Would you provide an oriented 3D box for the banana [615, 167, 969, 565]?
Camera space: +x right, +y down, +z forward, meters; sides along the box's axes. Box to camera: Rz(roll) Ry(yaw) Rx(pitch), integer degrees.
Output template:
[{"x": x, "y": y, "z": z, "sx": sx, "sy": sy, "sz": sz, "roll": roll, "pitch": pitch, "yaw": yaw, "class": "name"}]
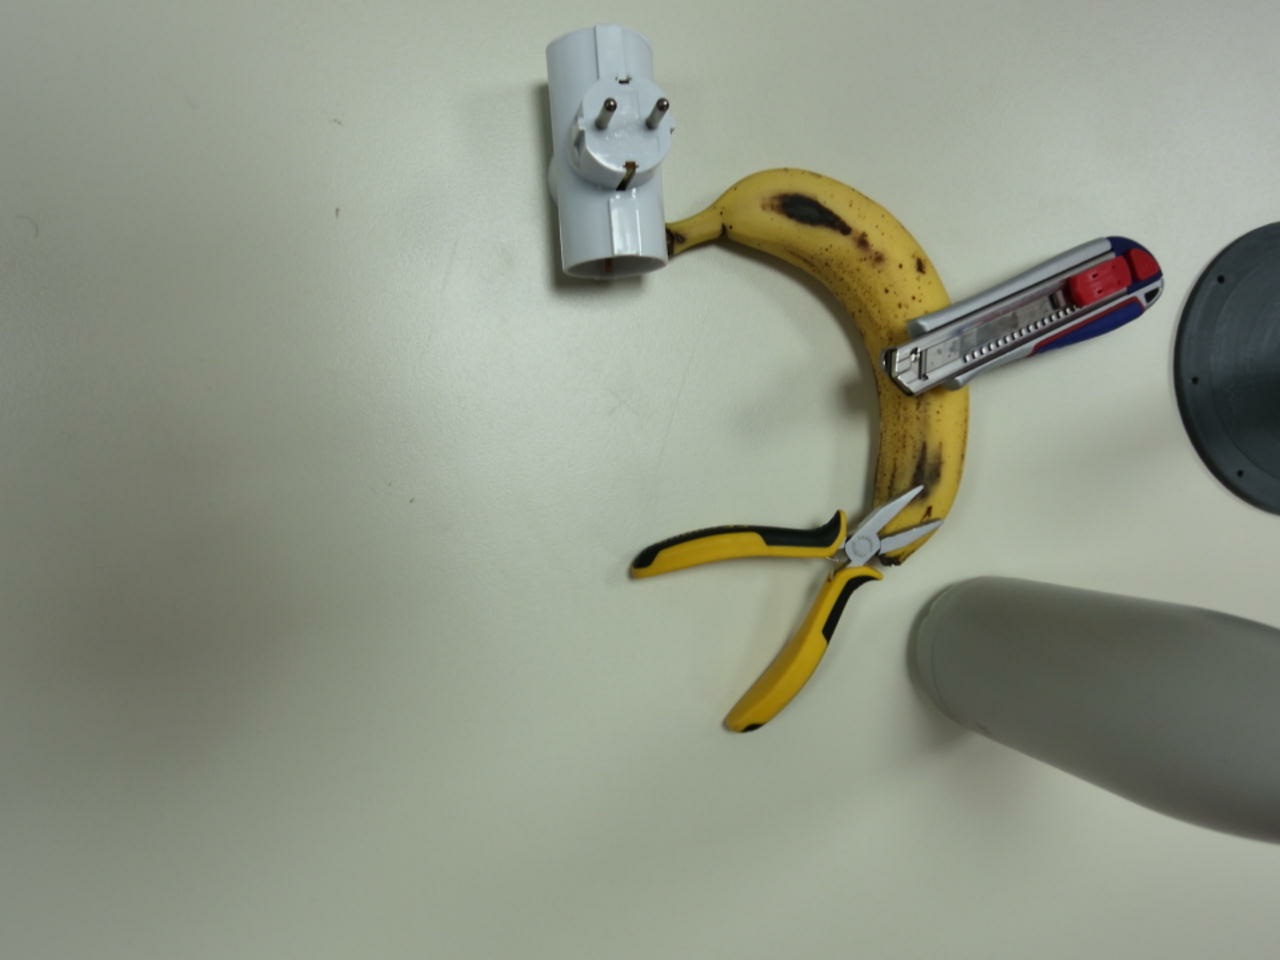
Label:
[{"x": 0.091, "y": -0.061, "z": 0.438, "sx": 0.097, "sy": 0.038, "sz": 0.186, "roll": -39, "pitch": 97, "yaw": -9, "class": "banana"}]
